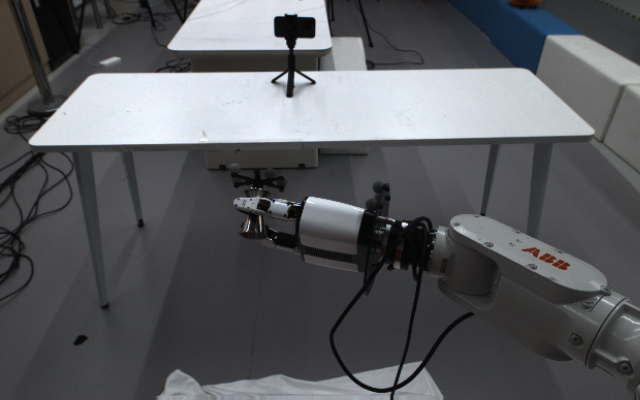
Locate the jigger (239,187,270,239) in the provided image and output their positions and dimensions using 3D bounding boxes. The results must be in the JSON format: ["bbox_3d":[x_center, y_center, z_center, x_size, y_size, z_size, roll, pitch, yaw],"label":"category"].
[{"bbox_3d":[-0.097,0.020,0.715,0.043,0.043,0.071,3,72,1],"label":"jigger"}]
